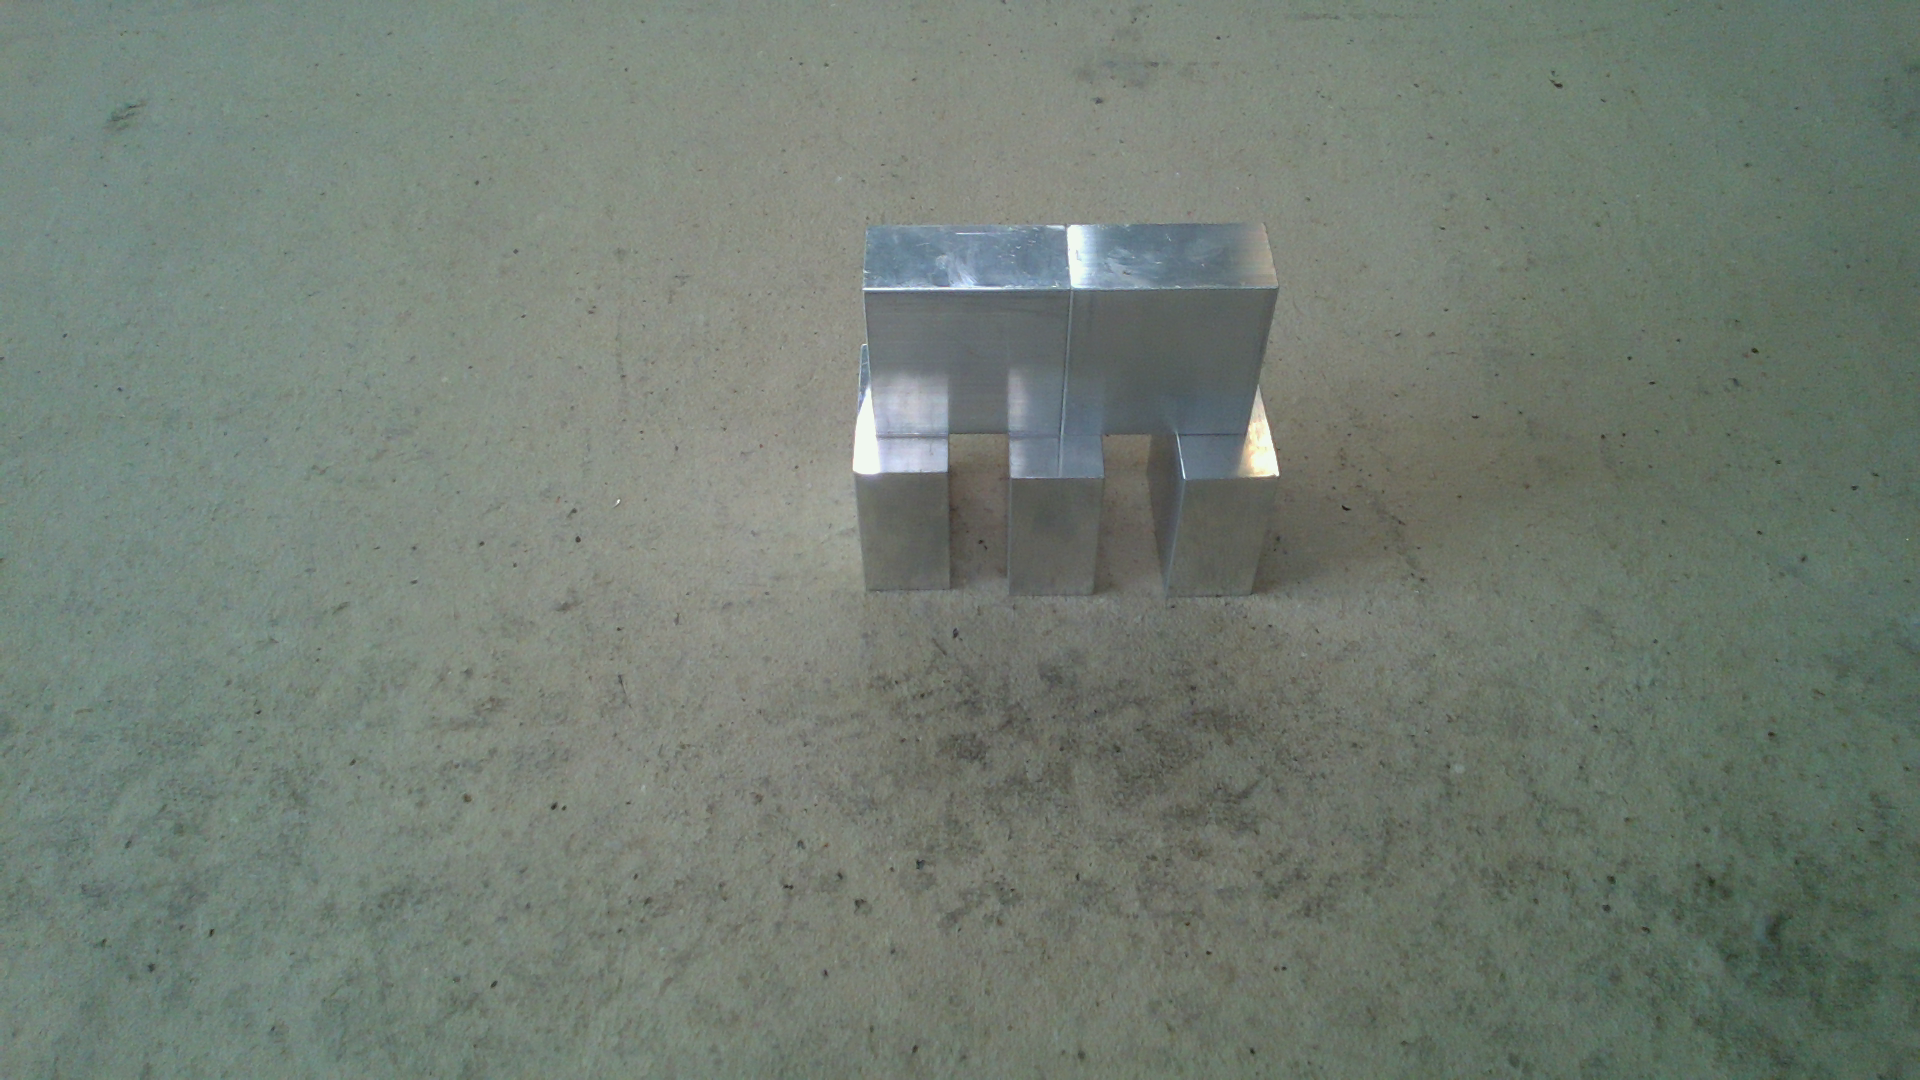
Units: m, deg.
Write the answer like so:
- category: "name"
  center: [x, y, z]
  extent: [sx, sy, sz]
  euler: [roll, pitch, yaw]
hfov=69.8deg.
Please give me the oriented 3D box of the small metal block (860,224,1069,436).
- category: "small metal block"
  center: [0.001, -0.054, 0.356]
  extent: [0.050, 0.050, 0.025]
  euler: [0, 50, 0]

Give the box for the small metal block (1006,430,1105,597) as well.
- category: "small metal block"
  center: [0.025, -0.019, 0.392]
  extent: [0.025, 0.050, 0.050]
  euler: [-1, 49, 0]

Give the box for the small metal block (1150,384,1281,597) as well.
- category: "small metal block"
  center: [0.071, -0.019, 0.392]
  extent: [0.025, 0.050, 0.050]
  euler: [-1, 49, 0]

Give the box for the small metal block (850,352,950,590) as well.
- category: "small metal block"
  center: [-0.016, -0.021, 0.393]
  extent: [0.025, 0.050, 0.050]
  euler: [-1, 49, 0]

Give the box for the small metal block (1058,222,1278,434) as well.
- category: "small metal block"
  center: [0.051, -0.054, 0.356]
  extent: [0.050, 0.050, 0.025]
  euler: [0, 50, 0]
